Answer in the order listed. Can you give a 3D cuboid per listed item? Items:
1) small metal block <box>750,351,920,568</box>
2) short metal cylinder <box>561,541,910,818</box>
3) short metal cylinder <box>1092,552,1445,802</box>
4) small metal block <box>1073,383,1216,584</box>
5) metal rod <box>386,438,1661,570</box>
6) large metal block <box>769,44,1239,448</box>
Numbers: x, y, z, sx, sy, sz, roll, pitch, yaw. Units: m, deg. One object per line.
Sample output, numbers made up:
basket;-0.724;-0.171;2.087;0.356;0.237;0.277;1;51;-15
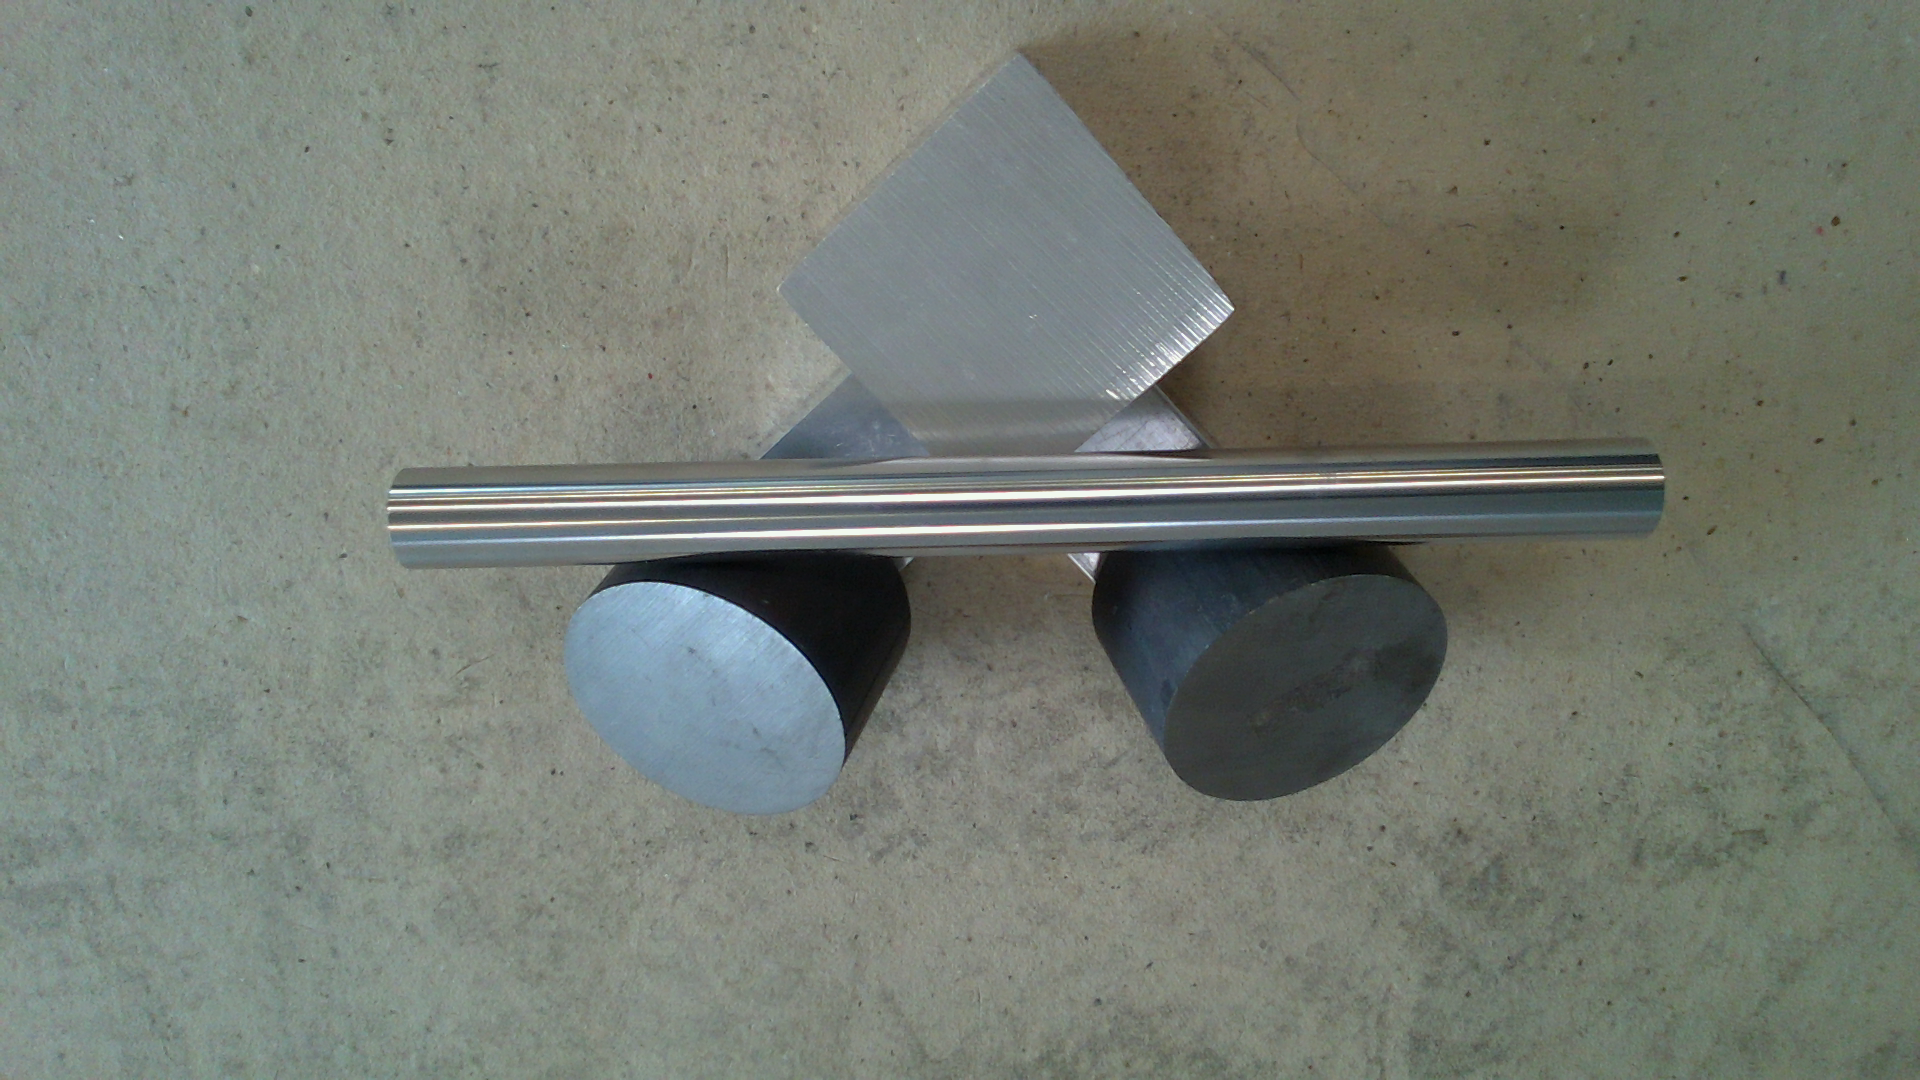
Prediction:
small metal block;-0.026;-0.020;0.387;0.050;0.025;0.050;-42;105;13
short metal cylinder;-0.060;0.029;0.376;0.080;0.050;0.080;11;129;14
short metal cylinder;0.083;0.025;0.376;0.080;0.050;0.080;-11;130;-14
small metal block;0.046;-0.018;0.387;0.050;0.025;0.050;-42;105;14
metal rod;0.015;-0.009;0.336;0.300;0.025;0.025;-1;110;0
large metal block;0.011;-0.068;0.354;0.080;0.050;0.080;-40;105;13
